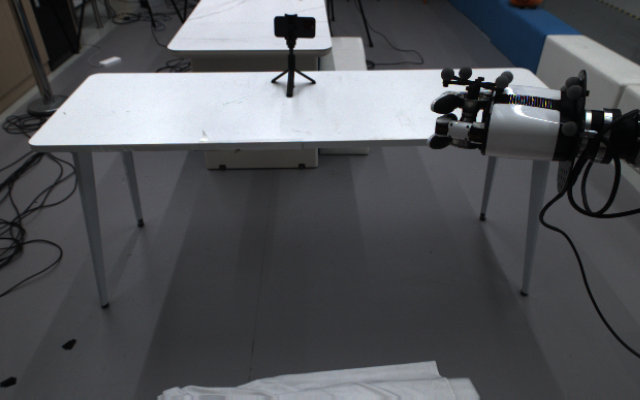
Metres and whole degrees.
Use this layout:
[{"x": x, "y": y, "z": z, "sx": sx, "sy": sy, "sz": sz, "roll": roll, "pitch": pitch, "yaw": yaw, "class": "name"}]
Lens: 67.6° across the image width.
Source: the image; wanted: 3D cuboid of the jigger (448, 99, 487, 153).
[{"x": 0.209, "y": -0.112, "z": 0.675, "sx": 0.043, "sy": 0.071, "sz": 0.043, "roll": 3, "pitch": 25, "yaw": -1, "class": "jigger"}]
